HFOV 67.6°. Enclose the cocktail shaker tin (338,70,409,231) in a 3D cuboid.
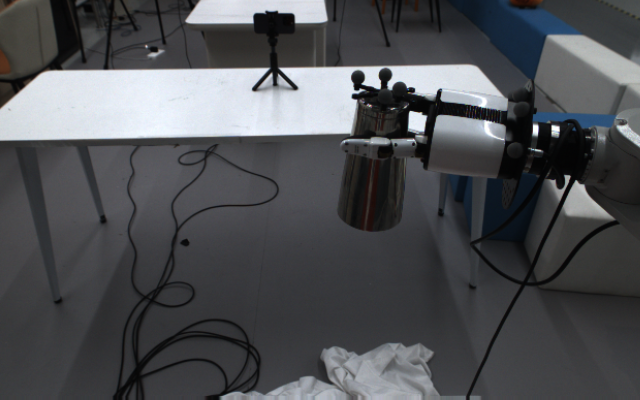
[{"bbox_3d":[0.077,-0.057,0.650,0.093,0.170,0.093,2,33,-2],"label":"cocktail shaker tin"}]
